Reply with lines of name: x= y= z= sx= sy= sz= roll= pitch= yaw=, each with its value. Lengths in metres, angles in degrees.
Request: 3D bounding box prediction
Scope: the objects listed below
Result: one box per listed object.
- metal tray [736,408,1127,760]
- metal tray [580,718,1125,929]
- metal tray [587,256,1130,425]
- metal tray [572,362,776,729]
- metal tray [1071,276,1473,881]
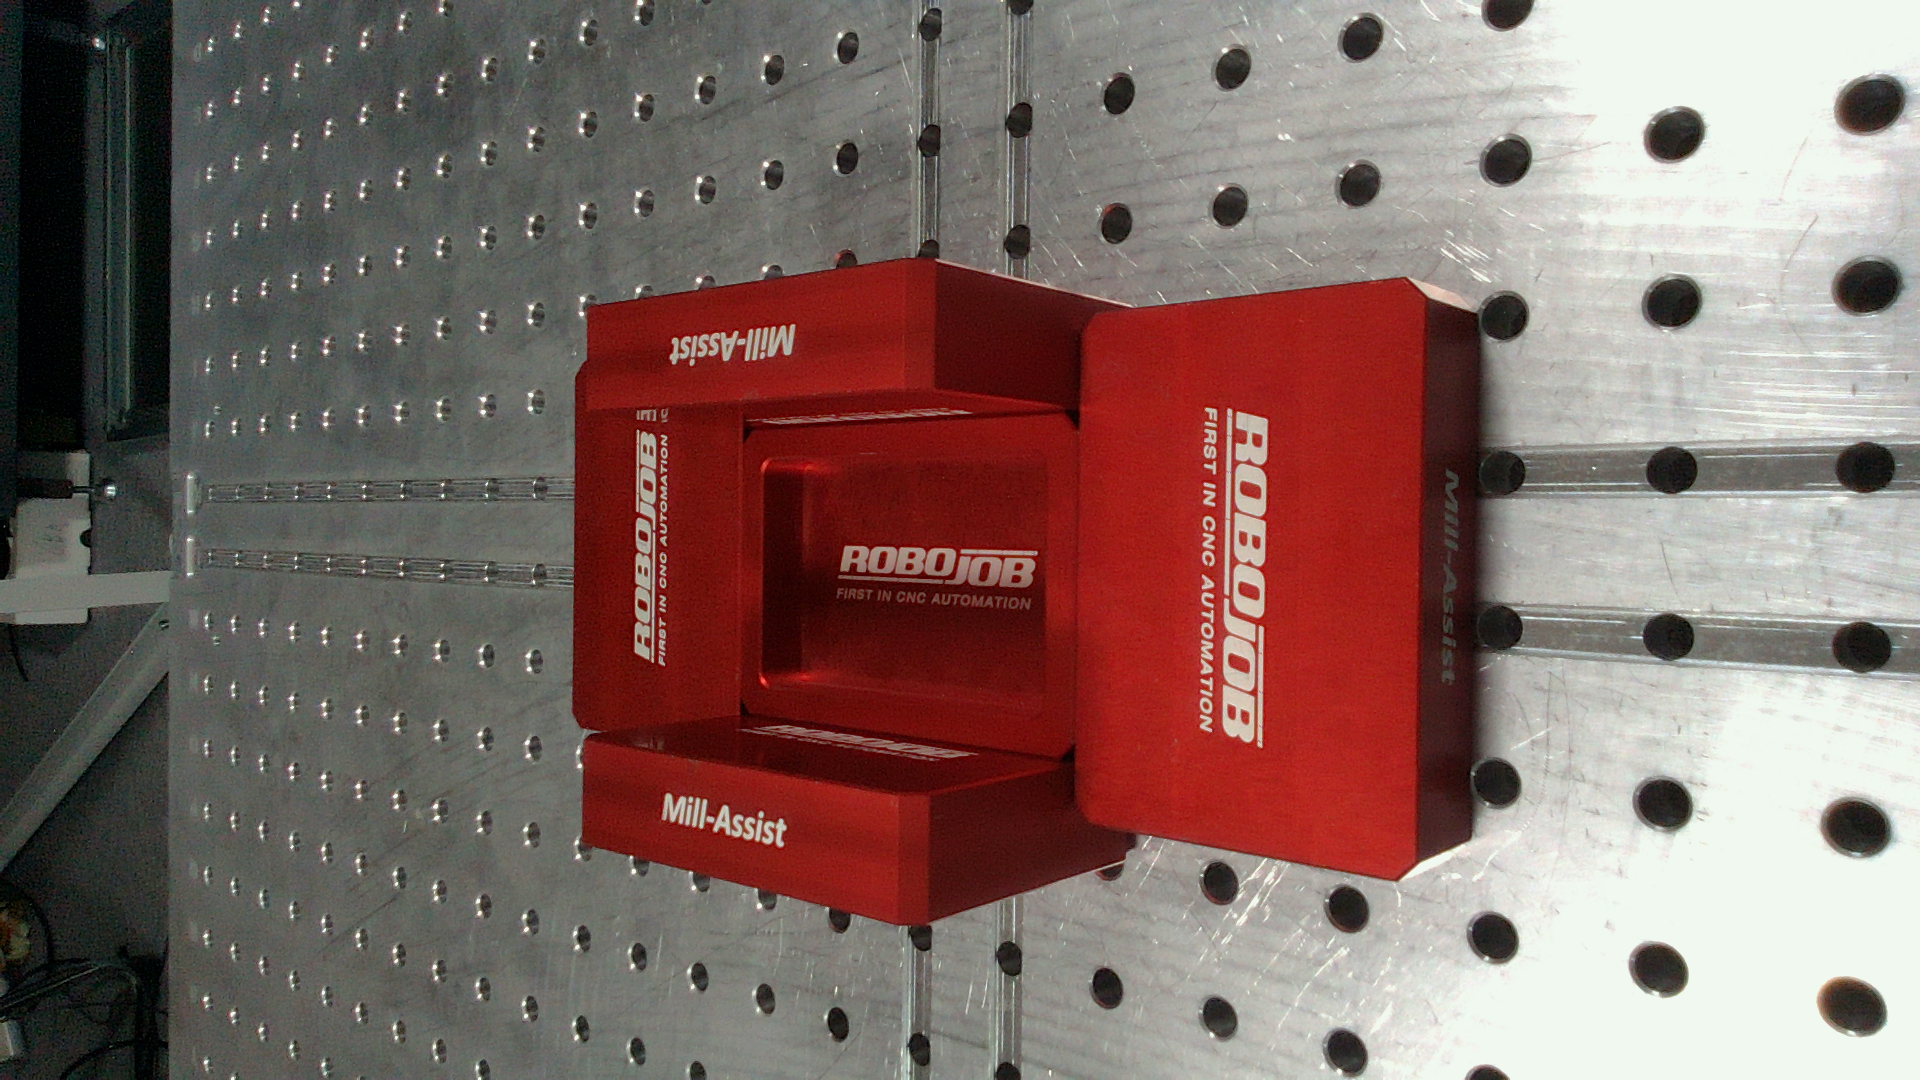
metal tray: x=-0.012 y=0.011 z=0.401 sx=0.129 sy=0.030 sz=0.090 roll=1 pitch=91 yaw=40
metal tray: x=-0.031 y=0.071 z=0.380 sx=0.129 sy=0.090 sz=0.030 roll=1 pitch=91 yaw=40
metal tray: x=-0.029 y=-0.049 z=0.380 sx=0.129 sy=0.090 sz=0.030 roll=1 pitch=91 yaw=40
metal tray: x=-0.095 y=0.002 z=0.474 sx=0.090 sy=0.030 sz=0.130 roll=1 pitch=91 yaw=40
metal tray: x=0.073 y=0.008 z=0.331 sx=0.090 sy=0.030 sz=0.130 roll=1 pitch=91 yaw=39
